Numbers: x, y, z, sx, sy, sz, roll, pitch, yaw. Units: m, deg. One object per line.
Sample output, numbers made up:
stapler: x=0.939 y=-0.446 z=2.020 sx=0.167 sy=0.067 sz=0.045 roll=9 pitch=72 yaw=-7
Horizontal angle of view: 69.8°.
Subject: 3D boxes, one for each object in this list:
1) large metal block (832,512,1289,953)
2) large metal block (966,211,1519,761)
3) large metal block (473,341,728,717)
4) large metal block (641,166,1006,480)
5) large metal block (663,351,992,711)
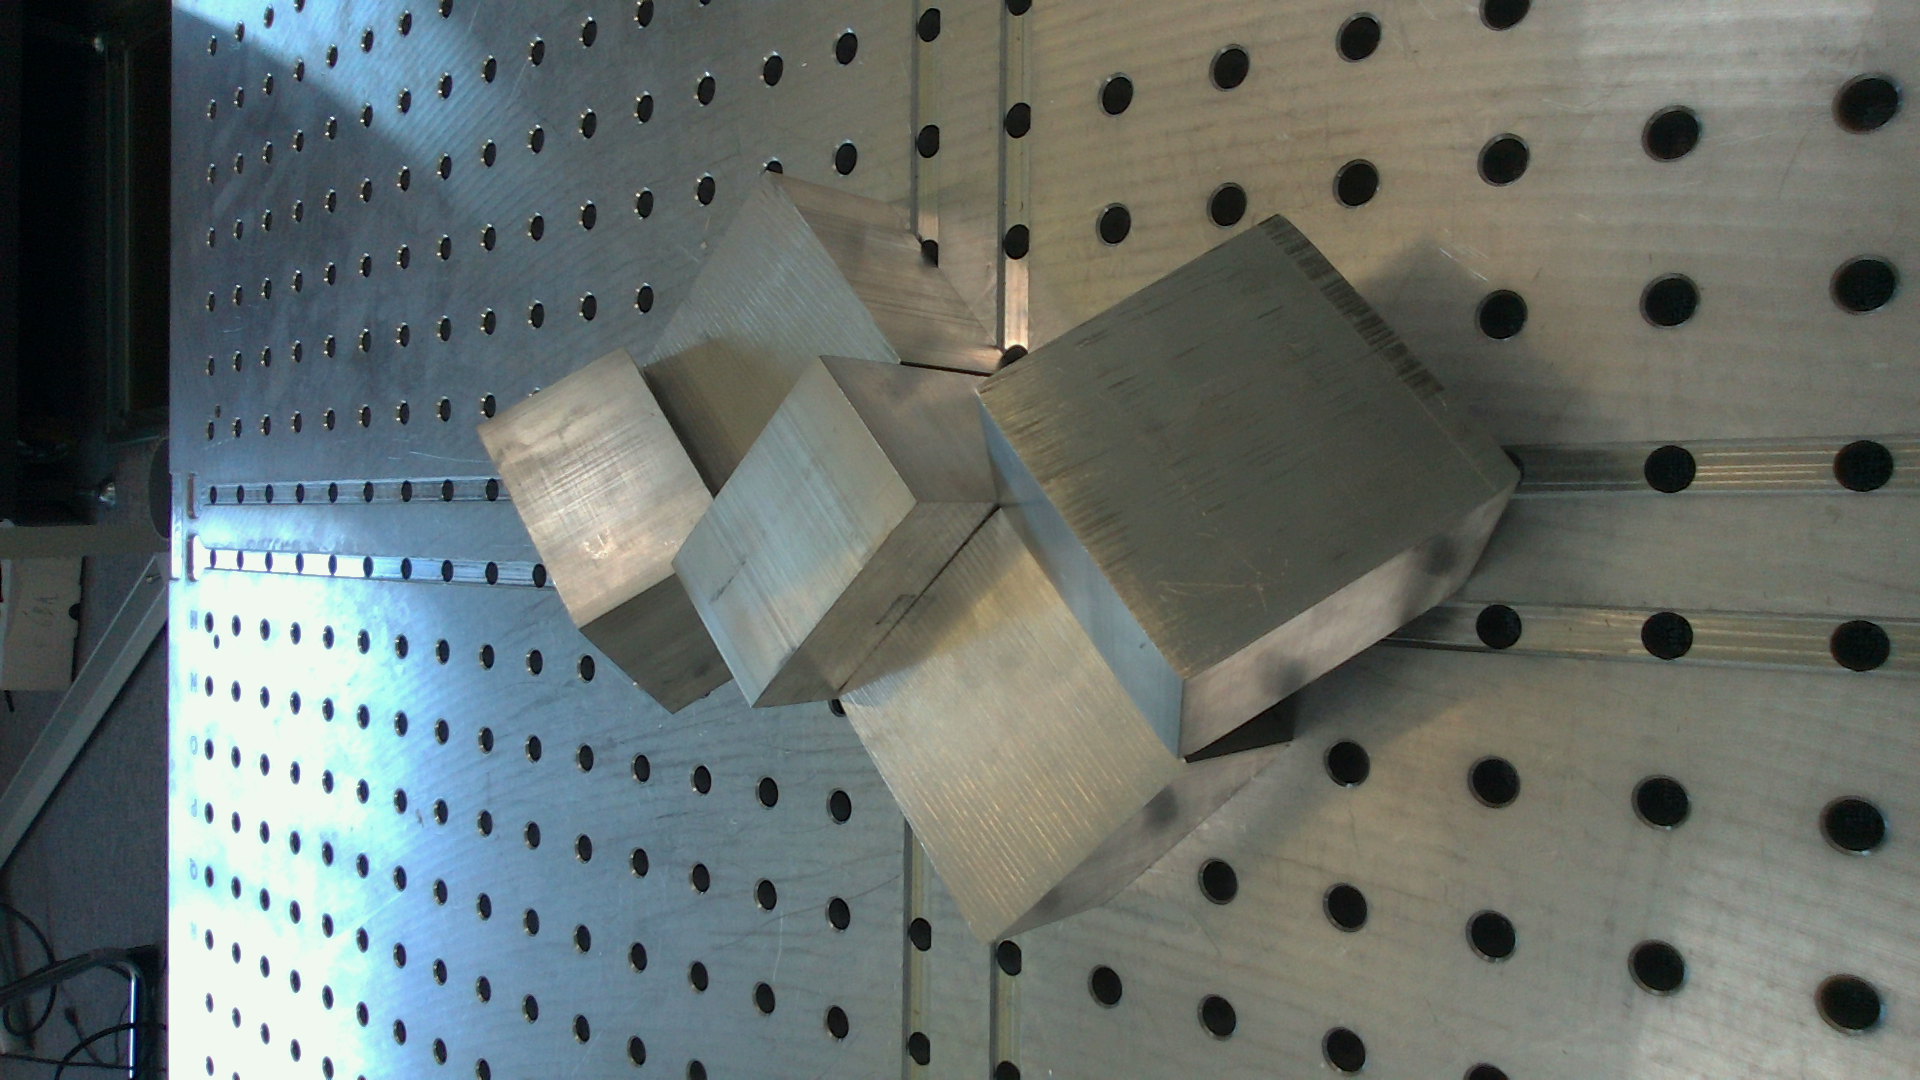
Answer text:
large metal block: x=0.023 y=0.048 z=0.362 sx=0.080 sy=0.050 sz=0.080 roll=-49 pitch=60 yaw=29
large metal block: x=0.059 y=-0.012 z=0.305 sx=0.080 sy=0.050 sz=0.080 roll=-31 pitch=65 yaw=-7
large metal block: x=-0.100 y=-0.001 z=0.436 sx=0.050 sy=0.080 sz=0.080 roll=-31 pitch=65 yaw=-6
large metal block: x=-0.042 y=-0.051 z=0.417 sx=0.080 sy=0.050 sz=0.080 roll=-50 pitch=61 yaw=30
large metal block: x=-0.020 y=-0.002 z=0.378 sx=0.080 sy=0.080 sz=0.050 roll=-50 pitch=62 yaw=28
